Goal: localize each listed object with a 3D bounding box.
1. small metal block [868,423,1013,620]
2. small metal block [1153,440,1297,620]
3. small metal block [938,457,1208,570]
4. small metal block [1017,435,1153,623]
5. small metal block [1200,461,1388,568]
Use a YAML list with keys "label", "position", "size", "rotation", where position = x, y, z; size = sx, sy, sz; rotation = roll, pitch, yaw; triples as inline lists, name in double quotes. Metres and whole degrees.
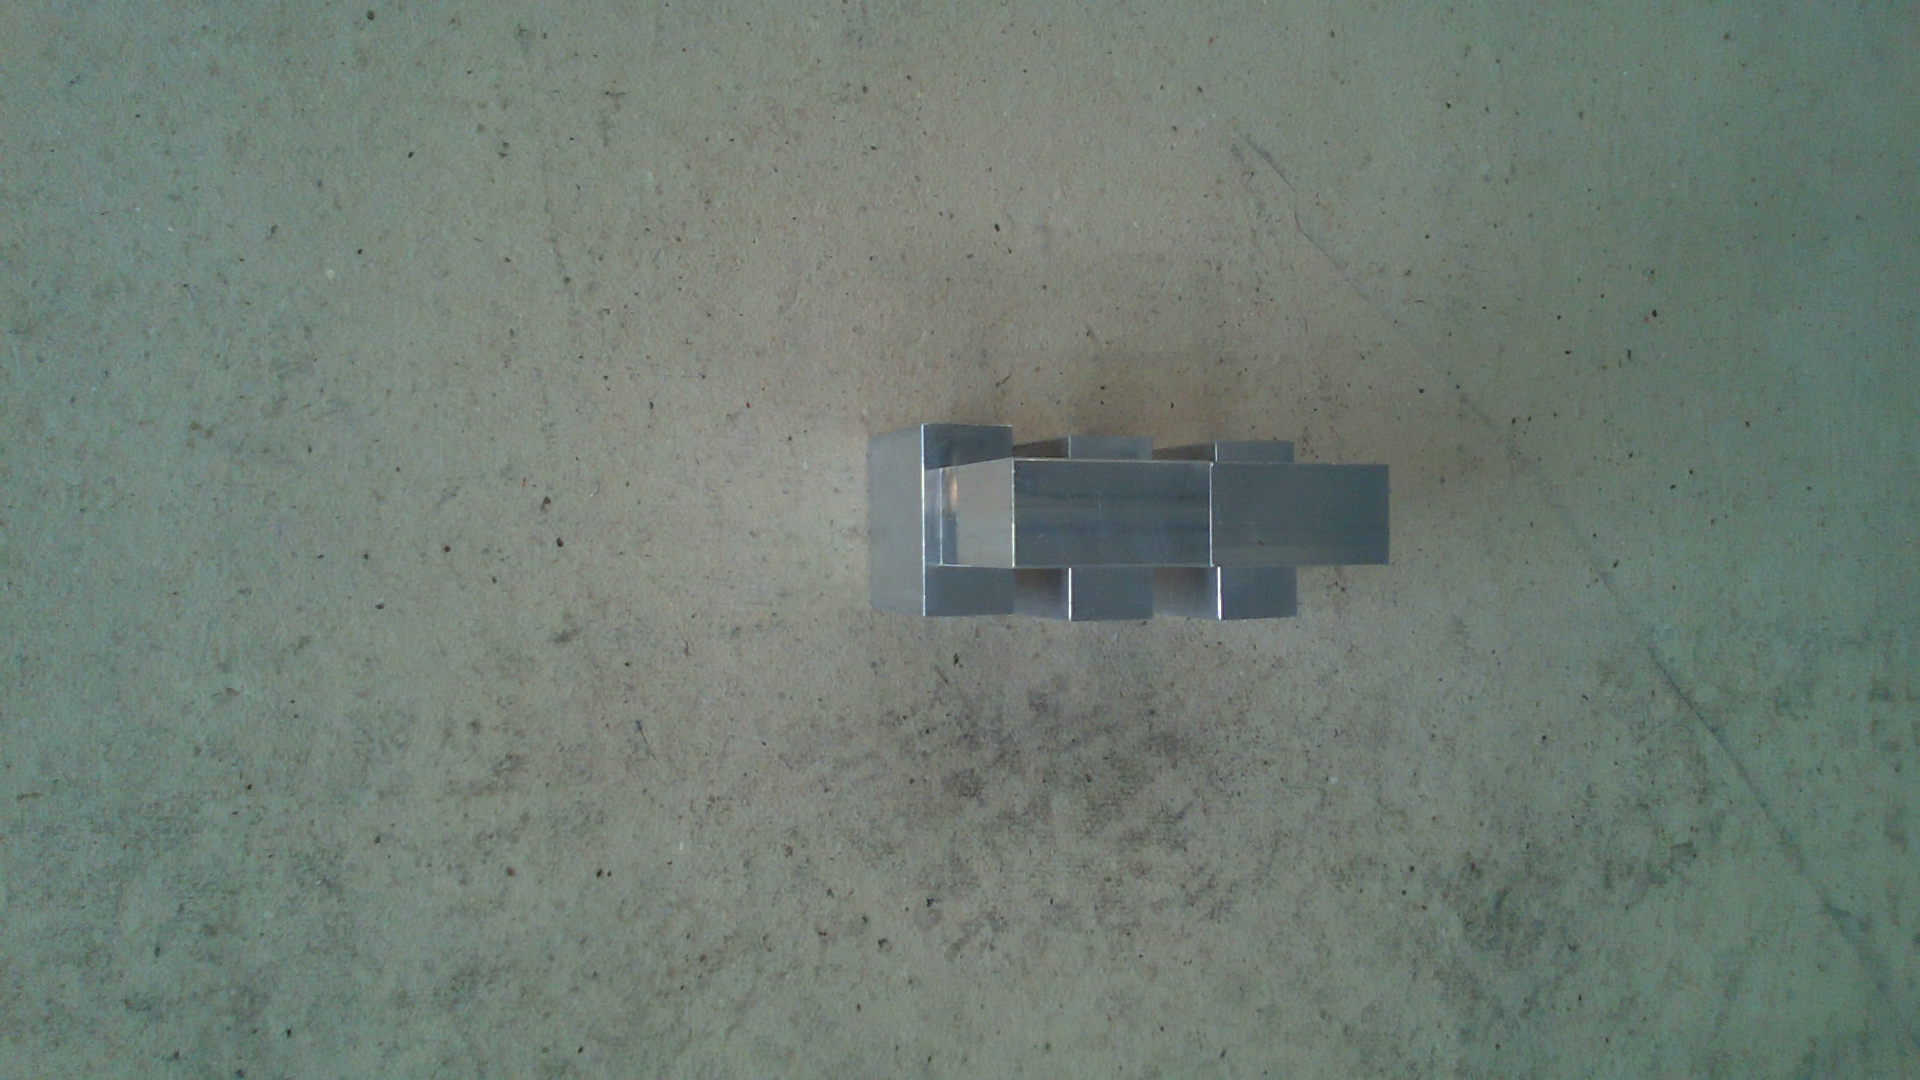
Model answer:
- label: "small metal block"
  position: [-0.006, -0.005, 0.378]
  size: [0.025, 0.050, 0.050]
  rotation: [-1, 90, -19]
- label: "small metal block"
  position: [0.075, -0.003, 0.408]
  size: [0.025, 0.050, 0.050]
  rotation: [-1, 90, -19]
- label: "small metal block"
  position: [0.026, -0.006, 0.338]
  size: [0.050, 0.050, 0.025]
  rotation: [0, 90, -20]
- label: "small metal block"
  position: [0.032, -0.003, 0.393]
  size: [0.025, 0.050, 0.050]
  rotation: [-1, 90, -19]
- label: "small metal block"
  position: [0.074, -0.006, 0.354]
  size: [0.050, 0.050, 0.025]
  rotation: [0, 90, -20]
